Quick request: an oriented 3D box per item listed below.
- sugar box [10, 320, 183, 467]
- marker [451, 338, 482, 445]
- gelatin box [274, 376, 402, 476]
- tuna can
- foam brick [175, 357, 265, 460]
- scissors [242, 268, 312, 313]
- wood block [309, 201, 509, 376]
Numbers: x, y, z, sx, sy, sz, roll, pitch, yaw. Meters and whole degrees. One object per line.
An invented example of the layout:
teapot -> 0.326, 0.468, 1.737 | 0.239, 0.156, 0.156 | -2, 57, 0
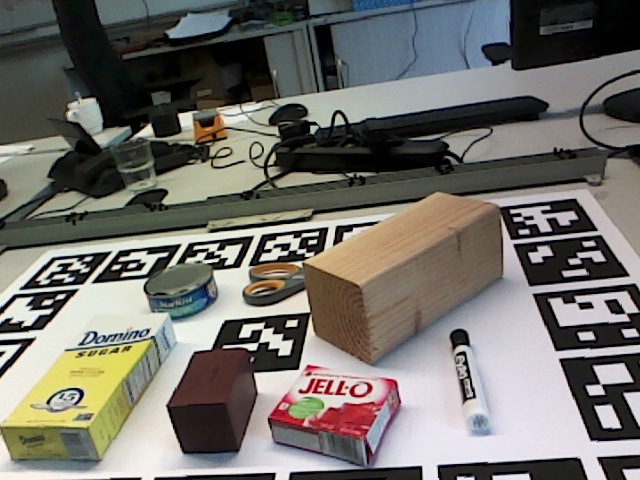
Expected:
sugar box -> -0.217, 0.148, 0.628 | 0.093, 0.045, 0.176 | -4, 27, 14
marker -> 0.128, 0.128, 0.546 | 0.020, 0.019, 0.121 | -6, 29, 12
gelatin box -> 0.016, 0.155, 0.530 | 0.090, 0.030, 0.073 | 3, 30, 28
tuna can -> -0.172, 0.068, 0.773 | 0.086, 0.033, 0.086 | -10, 27, 5
foam brick -> -0.087, 0.150, 0.552 | 0.053, 0.051, 0.078 | -6, 27, 13
scissors -> 0.000, 0.056, 0.752 | 0.203, 0.016, 0.087 | -5, 27, 19
wood block -> 0.101, 0.043, 0.659 | 0.205, 0.090, 0.090 | -28, 29, -30
